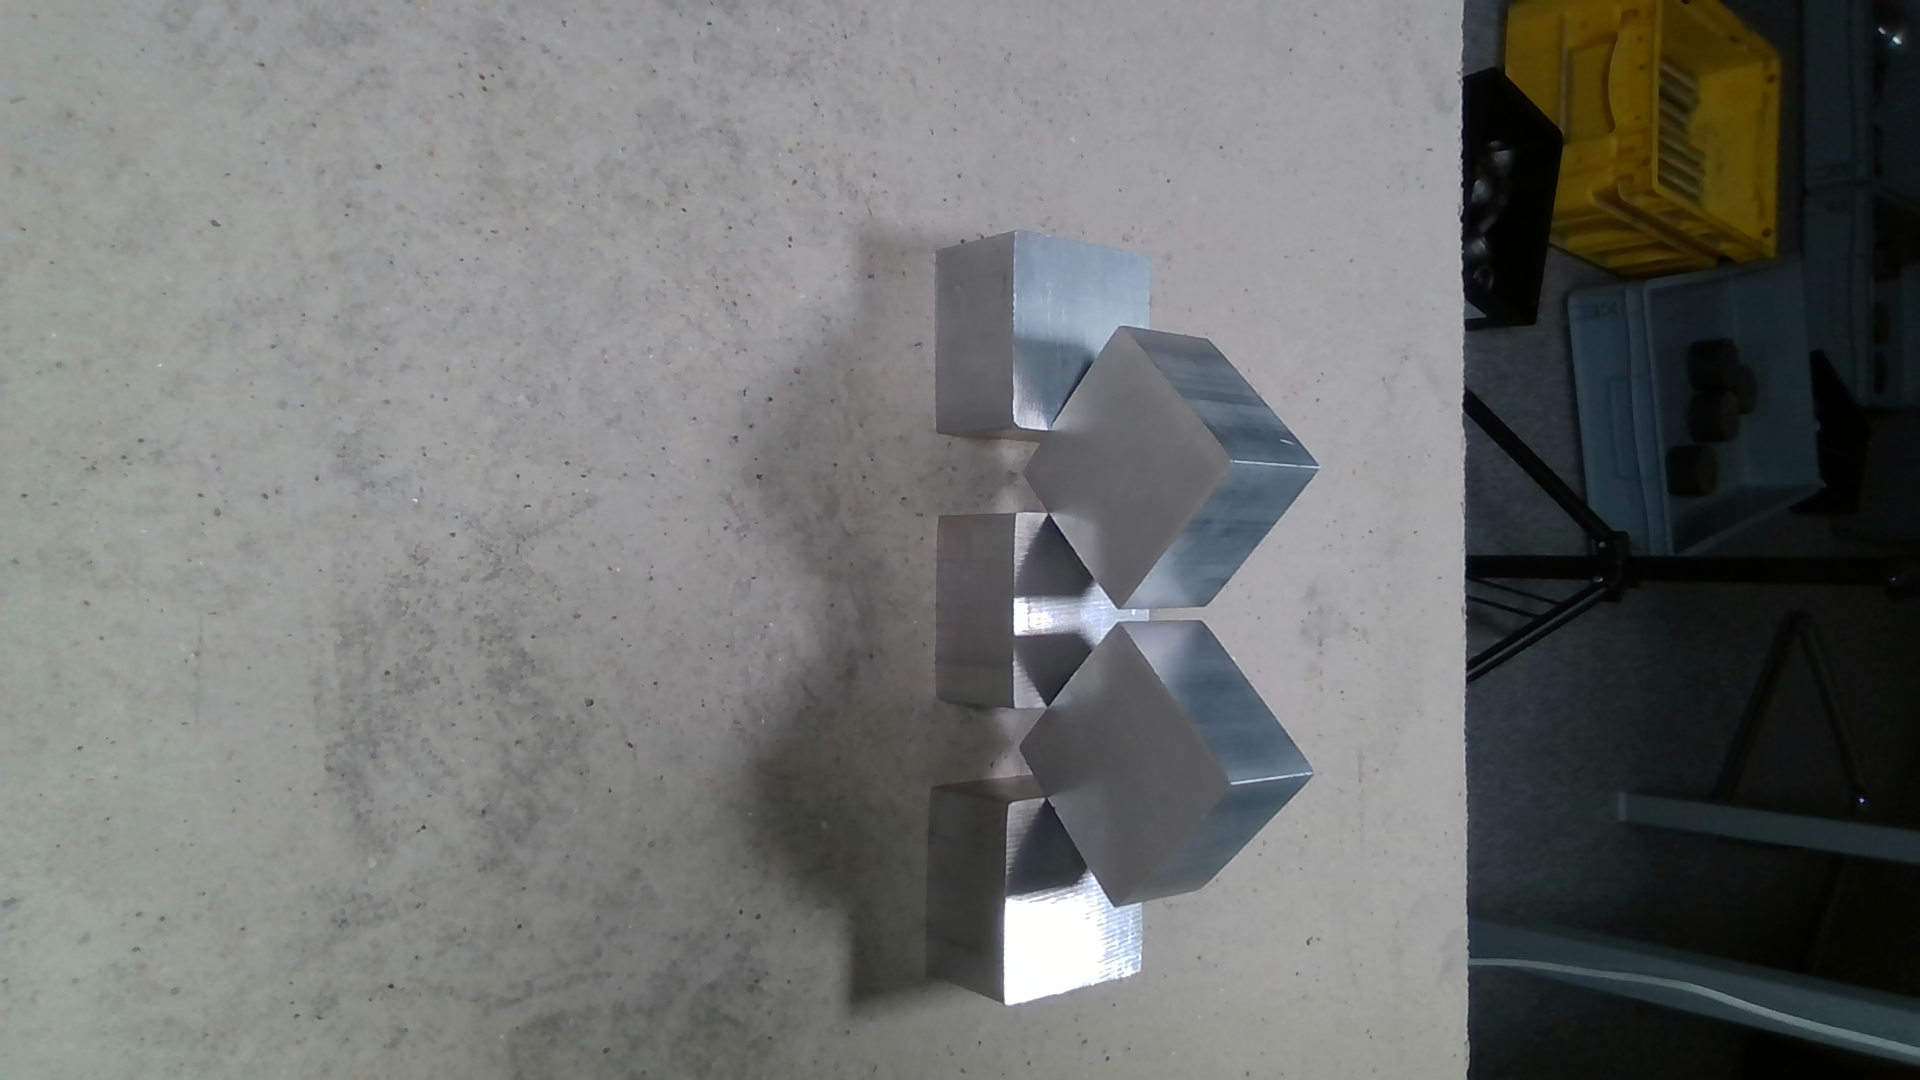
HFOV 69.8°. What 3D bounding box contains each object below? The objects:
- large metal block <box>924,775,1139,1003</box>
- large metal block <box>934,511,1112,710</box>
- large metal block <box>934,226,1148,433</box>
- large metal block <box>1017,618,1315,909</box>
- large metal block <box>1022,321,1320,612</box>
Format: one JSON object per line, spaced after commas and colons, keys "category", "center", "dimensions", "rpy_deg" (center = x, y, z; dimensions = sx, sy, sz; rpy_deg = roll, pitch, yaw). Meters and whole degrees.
{"category": "large metal block", "center": [0.032, 0.146, 0.595], "dimensions": [0.080, 0.050, 0.080], "rpy_deg": [2, 89, -40]}
{"category": "large metal block", "center": [0.036, 0.029, 0.598], "dimensions": [0.080, 0.050, 0.080], "rpy_deg": [1, 89, -40]}
{"category": "large metal block", "center": [0.036, -0.086, 0.597], "dimensions": [0.080, 0.050, 0.080], "rpy_deg": [0, 90, -40]}
{"category": "large metal block", "center": [0.080, 0.088, 0.552], "dimensions": [0.050, 0.080, 0.080], "rpy_deg": [1, 44, -41]}
{"category": "large metal block", "center": [0.081, -0.029, 0.551], "dimensions": [0.050, 0.080, 0.080], "rpy_deg": [-1, 135, -40]}
